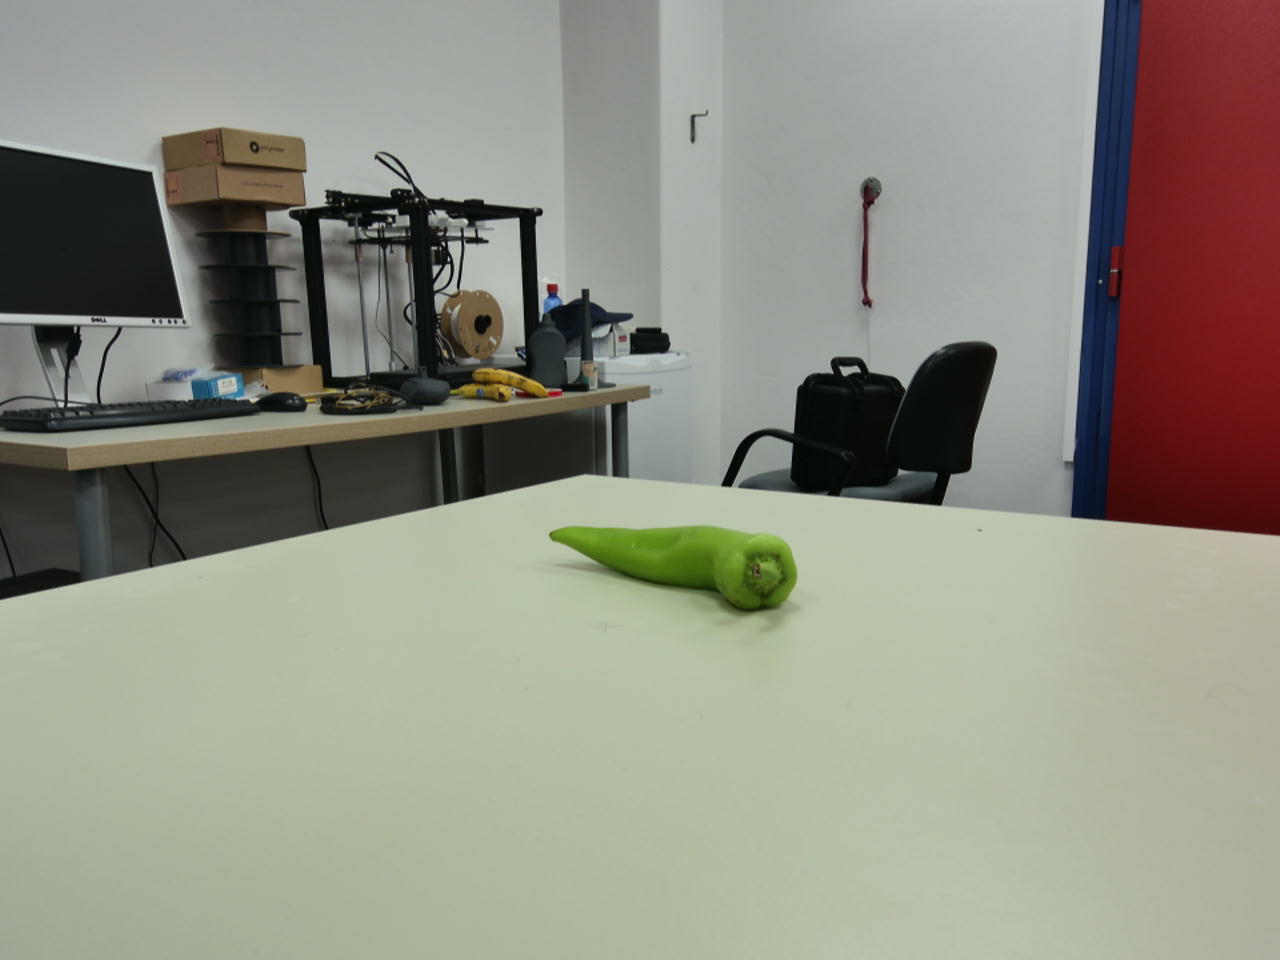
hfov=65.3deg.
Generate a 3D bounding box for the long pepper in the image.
[{"bbox_3d":[0.025,0.046,0.638,0.065,0.045,0.205,-5,9,-38],"label":"long pepper"}]
